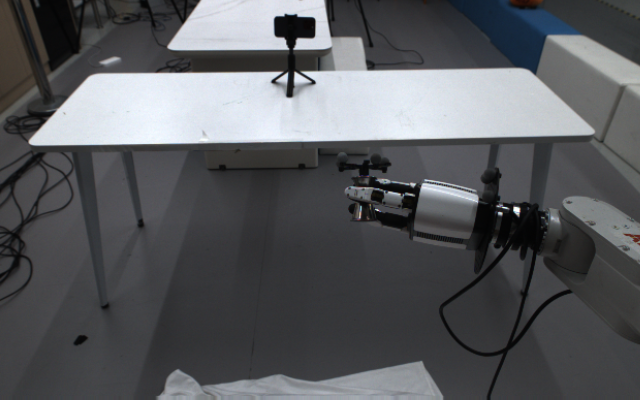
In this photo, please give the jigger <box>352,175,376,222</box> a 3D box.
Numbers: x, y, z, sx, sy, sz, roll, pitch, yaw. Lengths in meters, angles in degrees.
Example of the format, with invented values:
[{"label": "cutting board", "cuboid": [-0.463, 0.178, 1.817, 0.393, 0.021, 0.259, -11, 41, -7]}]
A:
[{"label": "jigger", "cuboid": [0.067, -0.002, 0.749, 0.043, 0.071, 0.043, 1, -5, 0]}]
